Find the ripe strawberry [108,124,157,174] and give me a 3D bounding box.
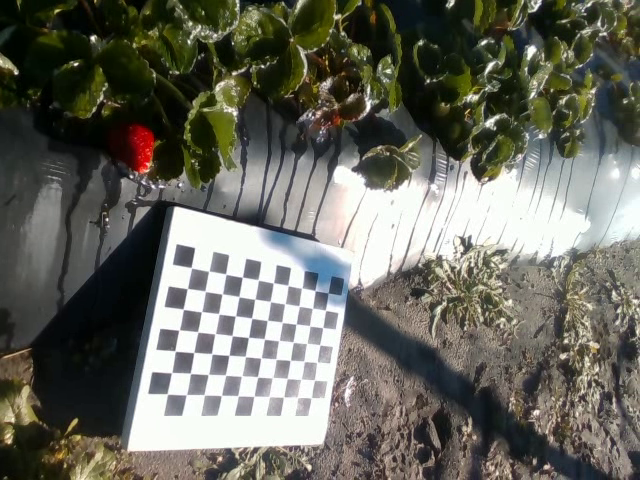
[{"bbox_3d":[-0.155,-0.075,0.506,0.042,0.053,0.047,6,-40,-40],"label":"ripe strawberry"}]
